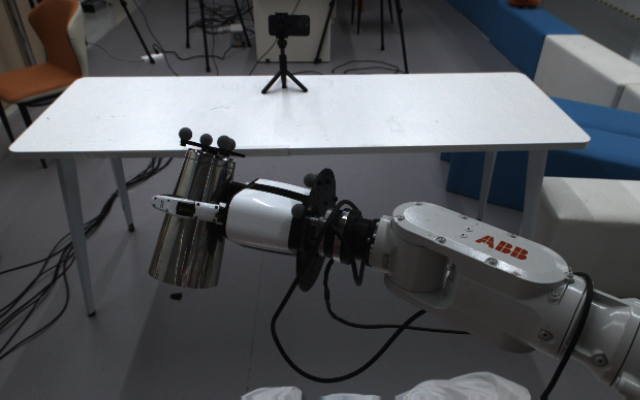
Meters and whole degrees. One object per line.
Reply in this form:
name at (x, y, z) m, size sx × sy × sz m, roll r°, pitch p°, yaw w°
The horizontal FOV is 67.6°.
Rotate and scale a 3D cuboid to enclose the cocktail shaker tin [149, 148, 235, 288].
cocktail shaker tin at (-0.164, 0.023, 0.647) m, size 0.093 × 0.170 × 0.093 m, roll 13°, pitch 2°, yaw 0°
